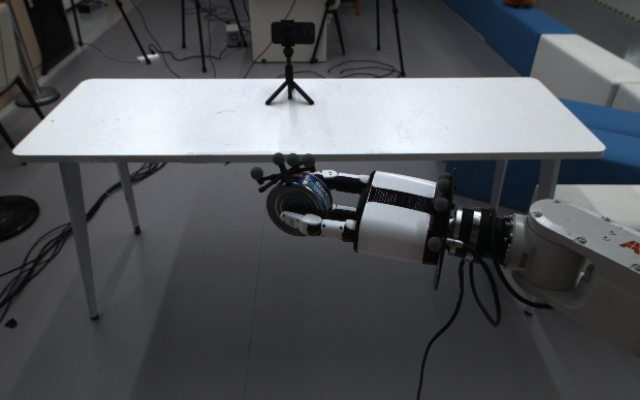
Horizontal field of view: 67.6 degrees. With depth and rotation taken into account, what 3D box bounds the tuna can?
[{"bbox_3d":[-0.026,0.005,0.654,0.085,0.085,0.034,11,34,13],"label":"tuna can"}]
